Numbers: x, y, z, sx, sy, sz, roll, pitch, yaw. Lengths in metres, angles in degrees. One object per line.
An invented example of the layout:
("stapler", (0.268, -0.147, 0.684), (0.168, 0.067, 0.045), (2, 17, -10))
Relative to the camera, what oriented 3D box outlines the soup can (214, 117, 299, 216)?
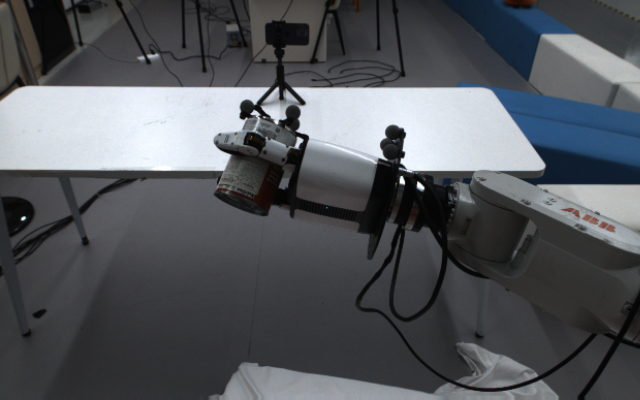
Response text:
("soup can", (-0.074, -0.040, 0.575), (0.067, 0.067, 0.101), (15, 75, 18))
